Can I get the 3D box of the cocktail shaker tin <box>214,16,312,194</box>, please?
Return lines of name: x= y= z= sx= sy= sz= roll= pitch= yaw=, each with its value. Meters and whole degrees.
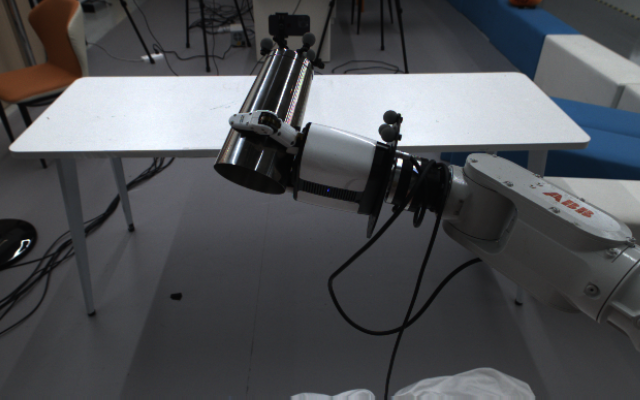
cocktail shaker tin: x=-0.063 y=-0.103 z=0.617 sx=0.093 sy=0.093 sz=0.170 roll=13 pitch=73 yaw=15
